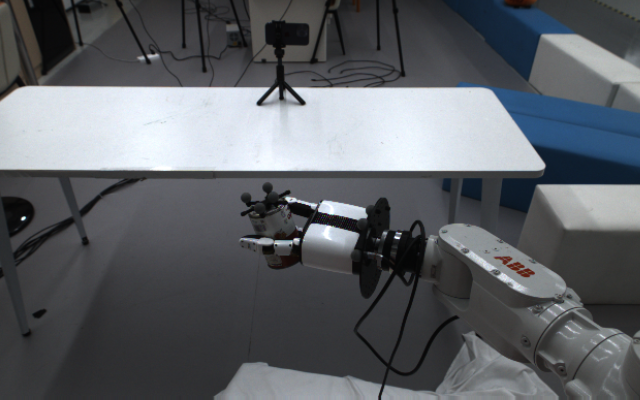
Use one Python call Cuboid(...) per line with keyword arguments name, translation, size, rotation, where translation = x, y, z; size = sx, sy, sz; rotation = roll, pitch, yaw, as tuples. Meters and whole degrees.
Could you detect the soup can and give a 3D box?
Cuboid(name="soup can", translation=(-0.070, 0.055, 0.797), size=(0.067, 0.101, 0.067), rotation=(-15, 23, 7))
